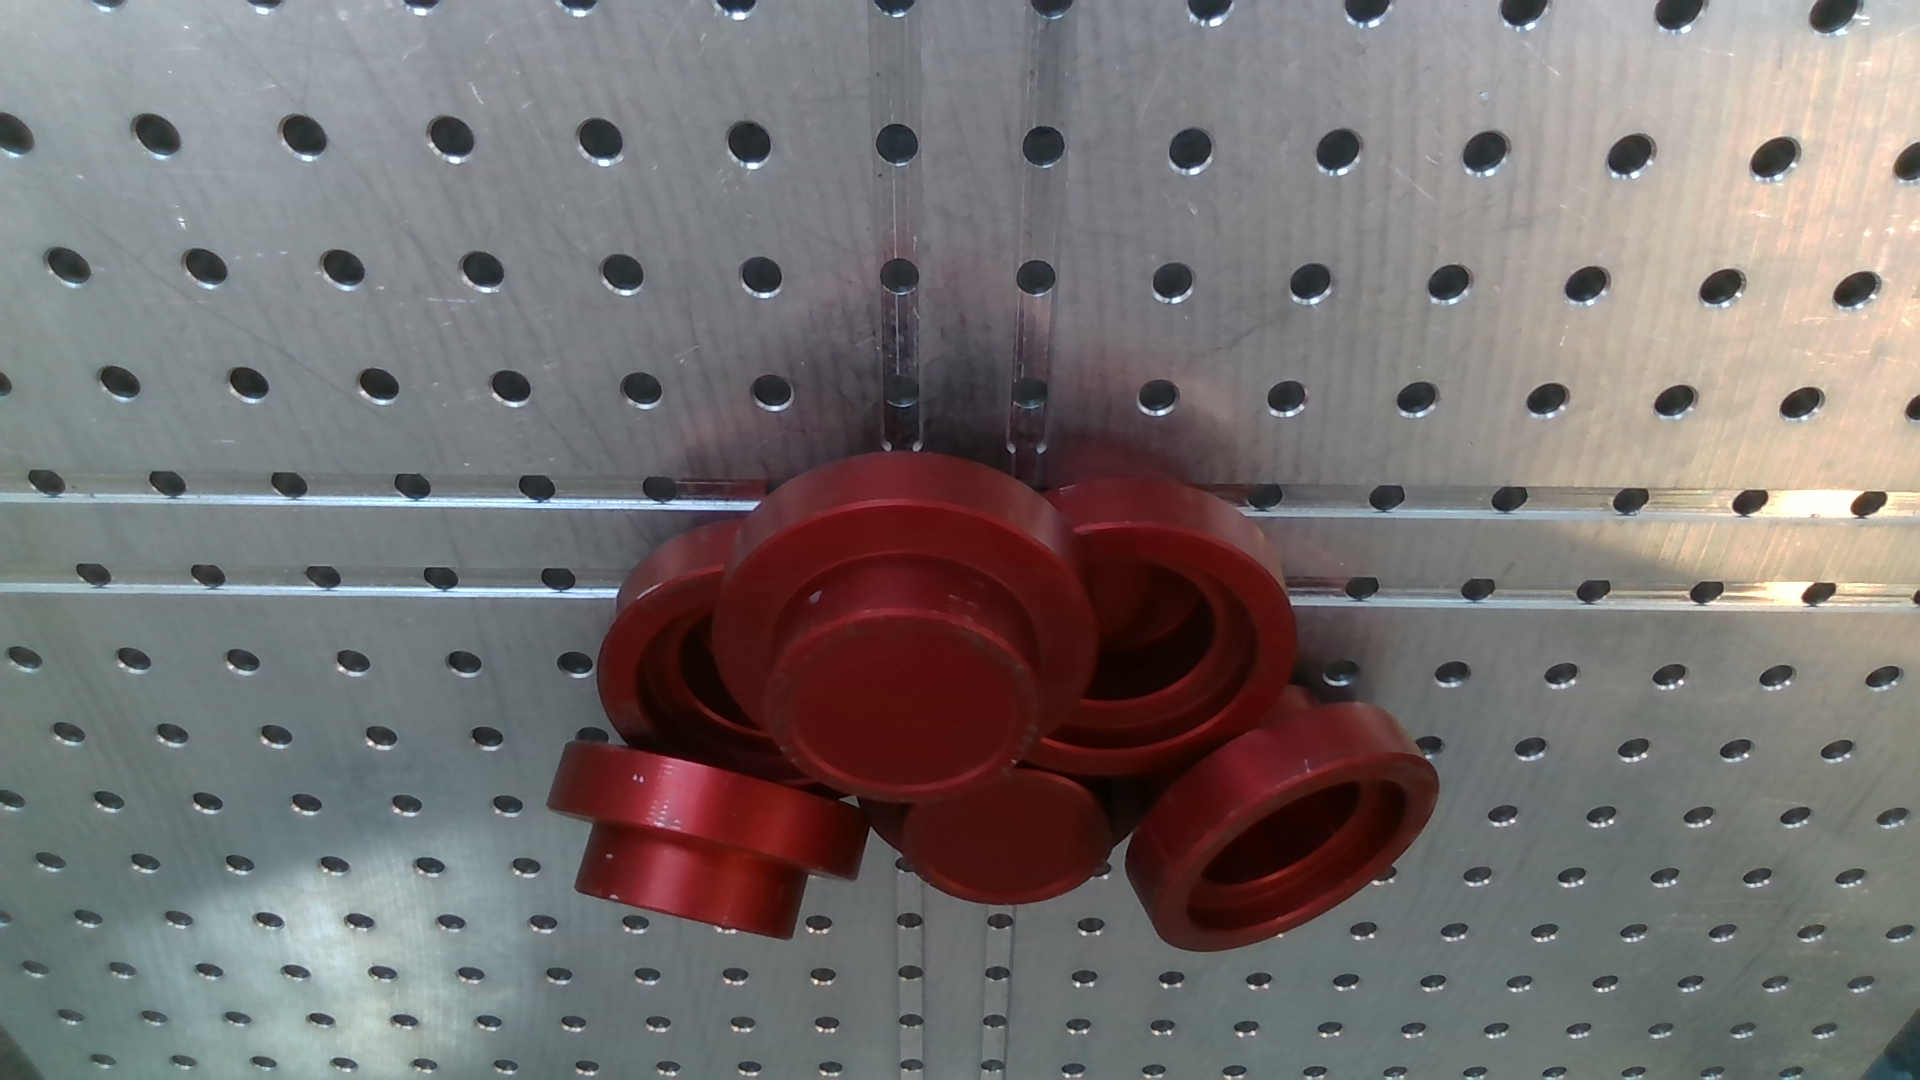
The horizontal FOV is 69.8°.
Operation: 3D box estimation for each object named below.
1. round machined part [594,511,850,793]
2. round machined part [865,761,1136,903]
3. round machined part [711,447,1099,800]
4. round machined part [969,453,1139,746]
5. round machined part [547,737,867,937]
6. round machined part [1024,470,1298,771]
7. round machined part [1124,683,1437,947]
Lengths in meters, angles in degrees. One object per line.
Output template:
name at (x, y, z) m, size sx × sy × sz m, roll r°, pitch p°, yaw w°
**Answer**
round machined part at (-0.054, 0.030, 0.405) m, size 0.098 × 0.042 × 0.098 m, roll 0°, pitch 130°, yaw 0°
round machined part at (0.014, 0.081, 0.447) m, size 0.098 × 0.042 × 0.098 m, roll 0°, pitch 130°, yaw 0°
round machined part at (-0.014, 0.028, 0.348) m, size 0.098 × 0.042 × 0.098 m, roll 0°, pitch 130°, yaw 0°
round machined part at (0.000, 0.014, 0.391) m, size 0.098 × 0.042 × 0.098 m, roll 0°, pitch 130°, yaw 0°
round machined part at (-0.080, 0.095, 0.428) m, size 0.098 × 0.042 × 0.098 m, roll 12°, pitch 163°, yaw 4°
round machined part at (0.044, 0.019, 0.396) m, size 0.098 × 0.042 × 0.098 m, roll 0°, pitch 130°, yaw 0°
round machined part at (0.096, 0.083, 0.435) m, size 0.098 × 0.042 × 0.098 m, roll -15°, pitch 139°, yaw -14°
